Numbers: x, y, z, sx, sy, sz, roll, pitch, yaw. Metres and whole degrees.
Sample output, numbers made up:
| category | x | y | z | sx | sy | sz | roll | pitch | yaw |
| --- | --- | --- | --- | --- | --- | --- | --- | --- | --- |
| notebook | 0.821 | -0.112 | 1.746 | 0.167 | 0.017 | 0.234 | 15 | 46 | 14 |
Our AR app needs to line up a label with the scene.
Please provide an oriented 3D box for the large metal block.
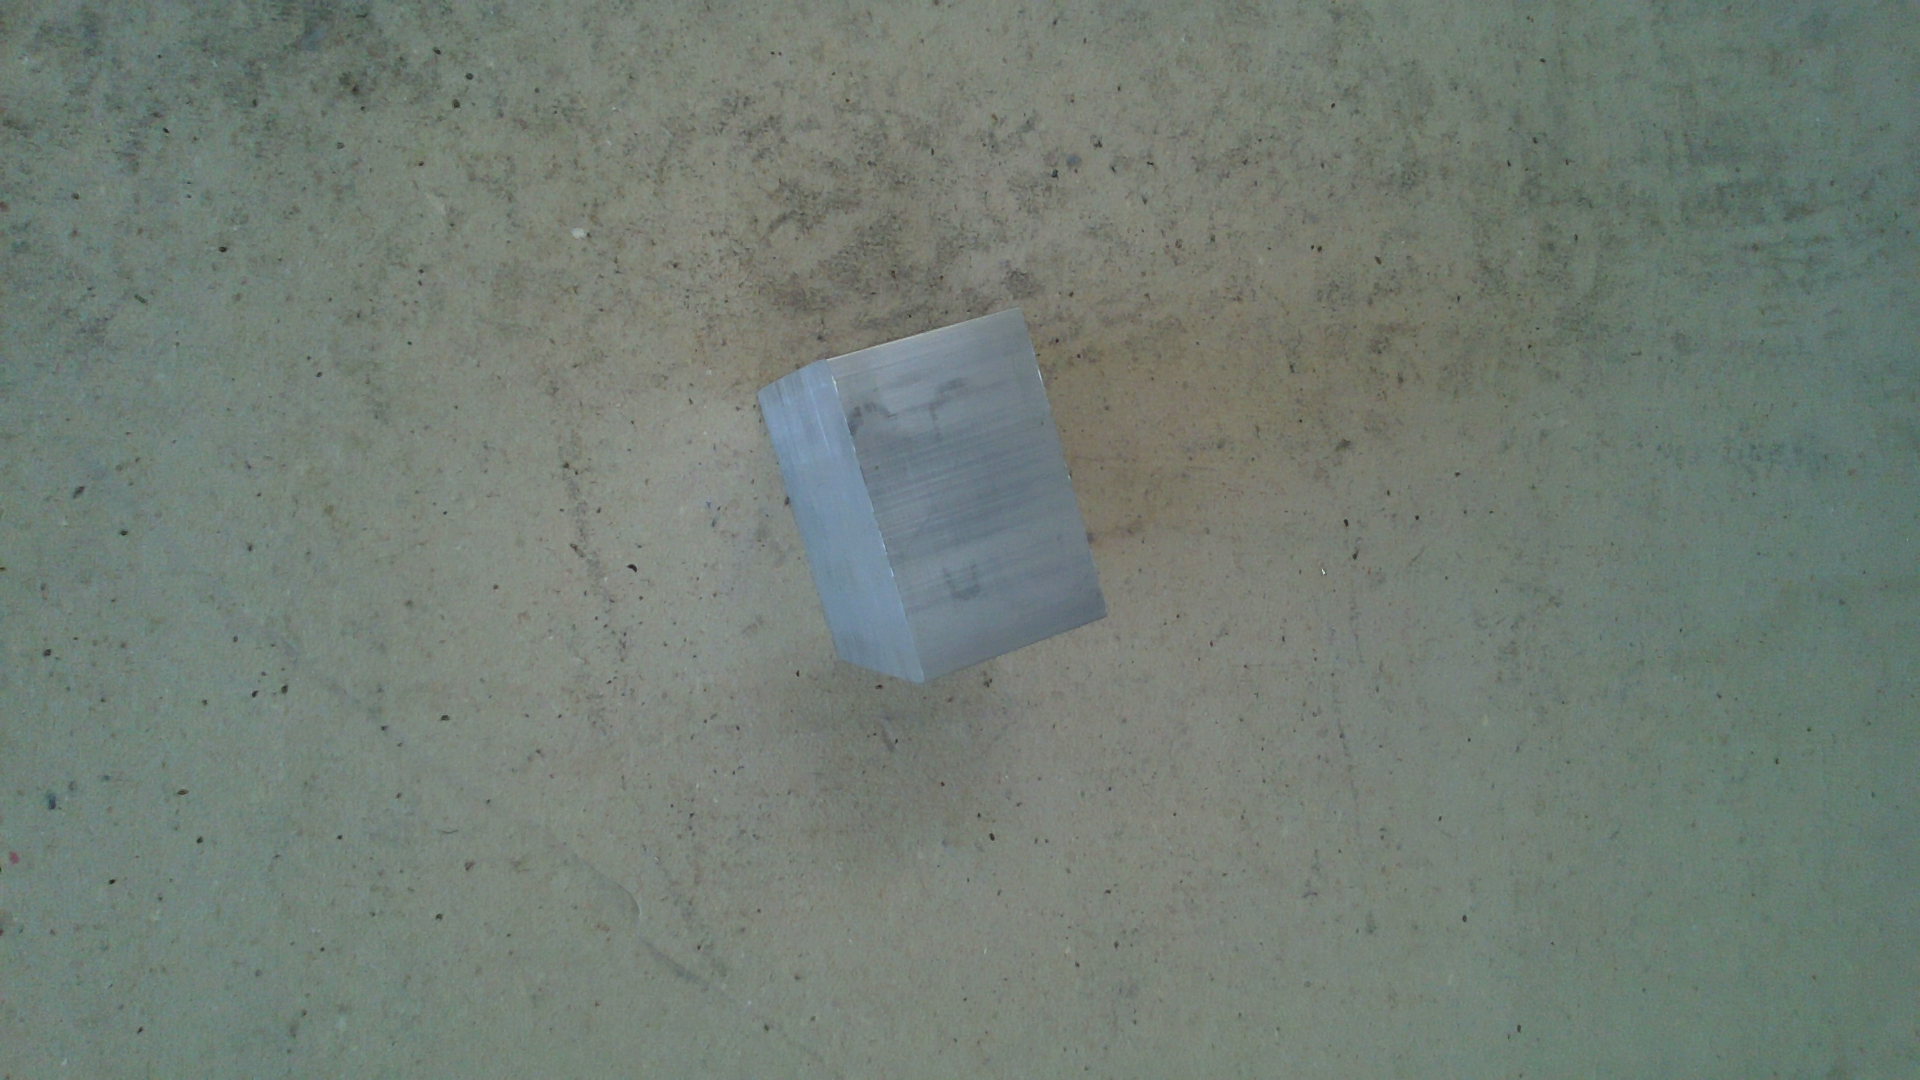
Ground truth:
| category | x | y | z | sx | sy | sz | roll | pitch | yaw |
| --- | --- | --- | --- | --- | --- | --- | --- | --- | --- |
| large metal block | -0.010 | -0.011 | 0.360 | 0.050 | 0.080 | 0.080 | -18 | 96 | -19 |
